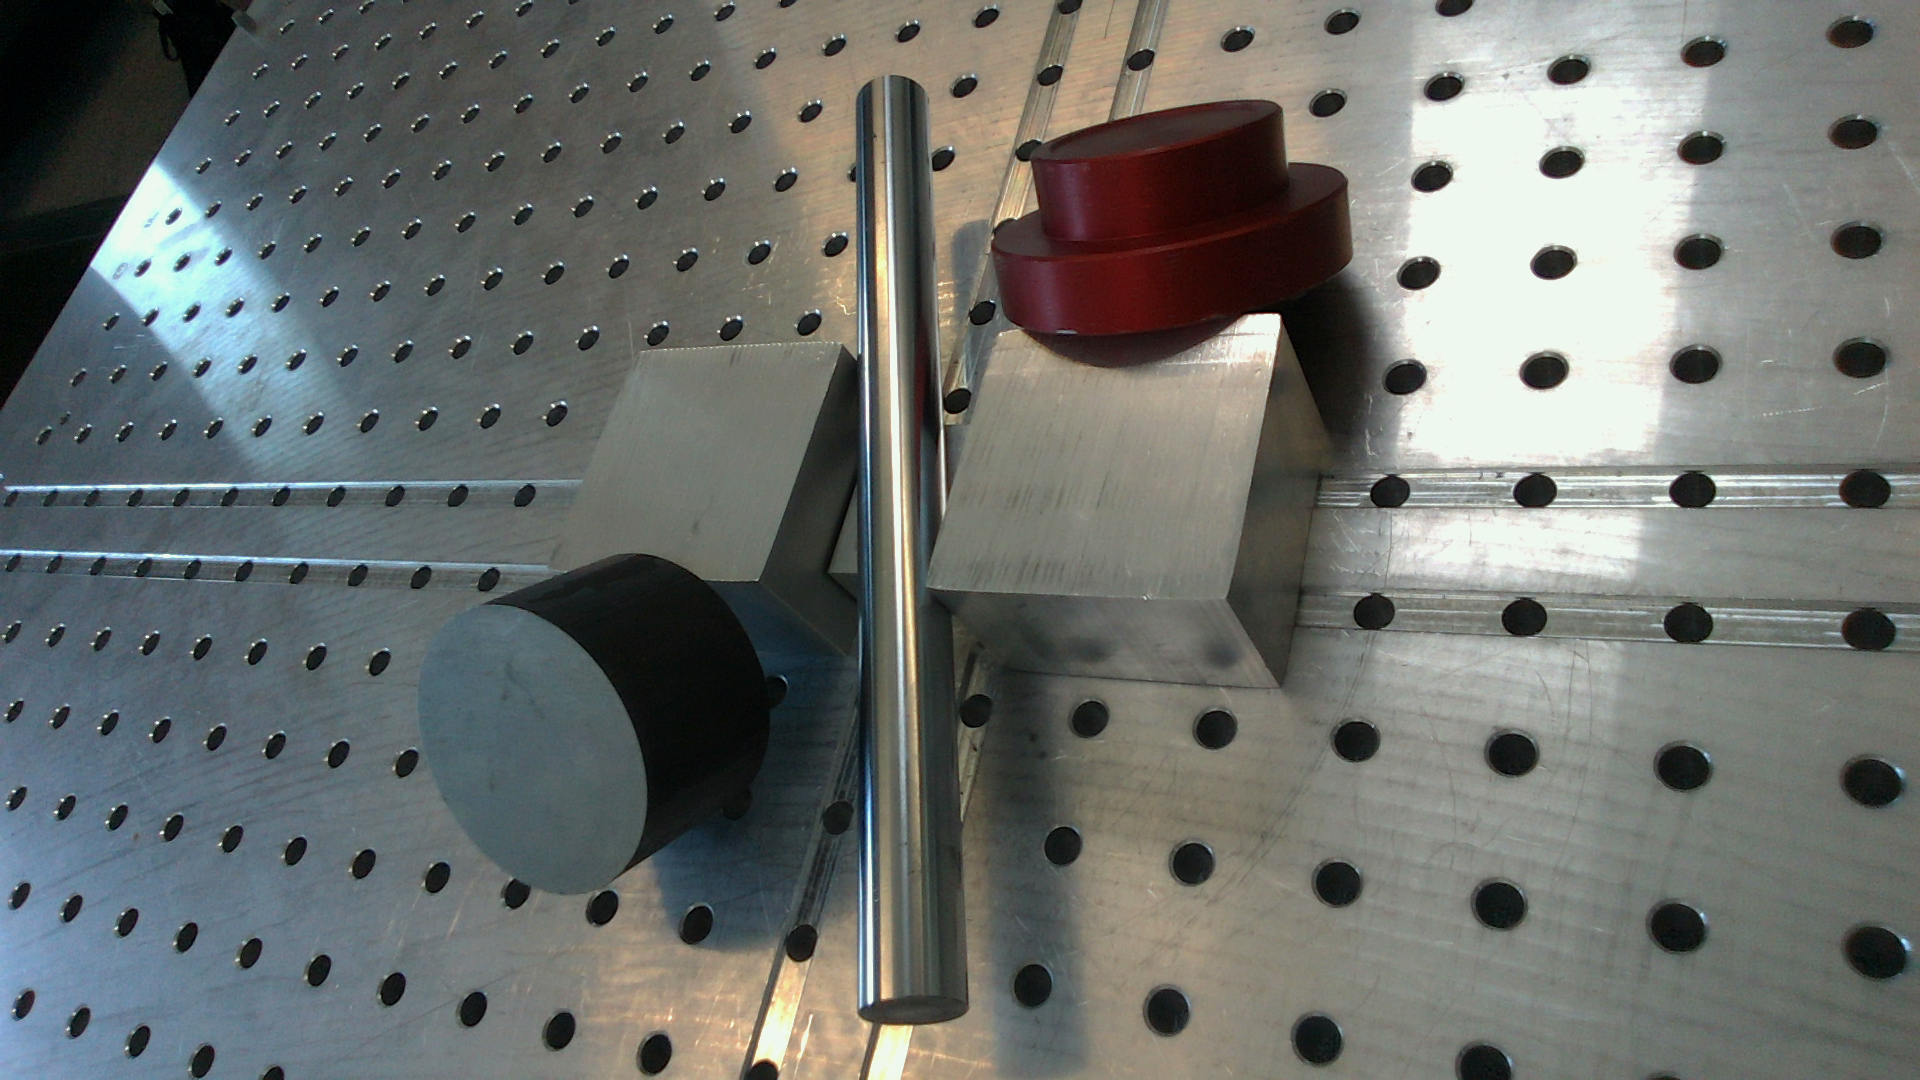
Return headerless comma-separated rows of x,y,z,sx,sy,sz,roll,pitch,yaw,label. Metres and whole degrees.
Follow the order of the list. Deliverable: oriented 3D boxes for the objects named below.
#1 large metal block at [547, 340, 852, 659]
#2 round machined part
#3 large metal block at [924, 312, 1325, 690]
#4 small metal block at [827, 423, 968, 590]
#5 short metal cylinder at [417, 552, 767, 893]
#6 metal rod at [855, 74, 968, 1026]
-0.068,-0.013,0.426,0.080,0.050,0.080,2,62,29,large metal block
0.056,-0.092,0.381,0.098,0.042,0.098,-11,23,5,round machined part
0.046,-0.010,0.363,0.080,0.050,0.080,1,62,29,large metal block
-0.005,-0.006,0.404,0.050,0.025,0.050,1,62,29,small metal block
-0.101,0.048,0.377,0.080,0.050,0.080,9,108,28,short metal cylinder
-0.017,-0.022,0.385,0.025,0.025,0.300,-16,55,19,metal rod
